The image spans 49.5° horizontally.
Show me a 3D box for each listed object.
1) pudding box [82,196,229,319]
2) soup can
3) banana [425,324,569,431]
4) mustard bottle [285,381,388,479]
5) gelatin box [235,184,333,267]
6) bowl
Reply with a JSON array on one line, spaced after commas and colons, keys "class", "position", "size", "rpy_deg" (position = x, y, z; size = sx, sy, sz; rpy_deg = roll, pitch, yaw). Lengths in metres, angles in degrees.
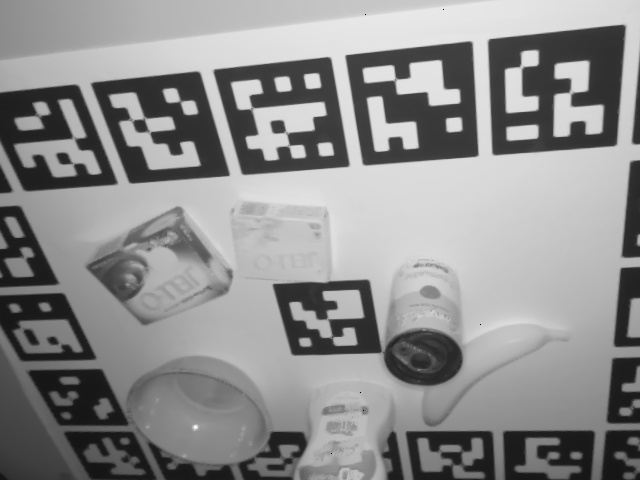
[{"class": "pudding box", "position": [-0.162, 0.019, 0.693], "size": [0.112, 0.039, 0.090], "rpy_deg": [-25, 111, 22]}, {"class": "soup can", "position": [0.103, 0.073, 0.641], "size": [0.068, 0.103, 0.067], "rpy_deg": [5, 126, 8]}, {"class": "banana", "position": [0.166, 0.142, 0.727], "size": [0.075, 0.039, 0.194], "rpy_deg": [27, 123, -21]}, {"class": "mustard bottle", "position": [0.015, 0.231, 0.701], "size": [0.096, 0.193, 0.058], "rpy_deg": [-2, 126, 11]}, {"class": "gelatin box", "position": [-0.032, -0.013, 0.658], "size": [0.089, 0.030, 0.072], "rpy_deg": [3, 120, 6]}, {"class": "bowl", "position": [-0.142, 0.179, 0.789], "size": [0.161, 0.056, 0.160], "rpy_deg": [3, 124, 5]}]
